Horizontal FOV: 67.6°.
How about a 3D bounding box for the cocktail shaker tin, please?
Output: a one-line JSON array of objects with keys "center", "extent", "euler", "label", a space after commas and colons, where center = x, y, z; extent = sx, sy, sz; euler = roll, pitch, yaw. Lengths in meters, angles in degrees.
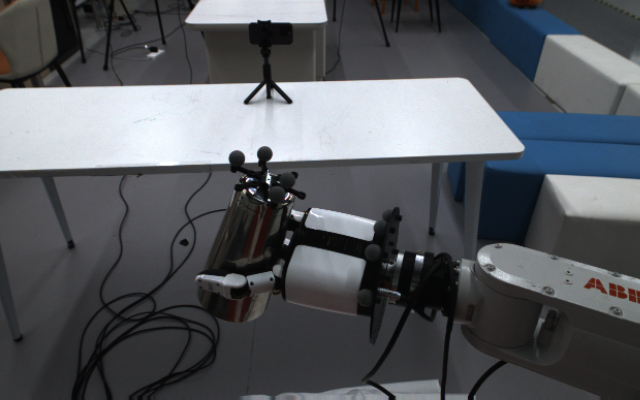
[{"center": [-0.083, 0.052, 0.574], "extent": [0.093, 0.170, 0.093], "euler": [15, 31, -10], "label": "cocktail shaker tin"}]
